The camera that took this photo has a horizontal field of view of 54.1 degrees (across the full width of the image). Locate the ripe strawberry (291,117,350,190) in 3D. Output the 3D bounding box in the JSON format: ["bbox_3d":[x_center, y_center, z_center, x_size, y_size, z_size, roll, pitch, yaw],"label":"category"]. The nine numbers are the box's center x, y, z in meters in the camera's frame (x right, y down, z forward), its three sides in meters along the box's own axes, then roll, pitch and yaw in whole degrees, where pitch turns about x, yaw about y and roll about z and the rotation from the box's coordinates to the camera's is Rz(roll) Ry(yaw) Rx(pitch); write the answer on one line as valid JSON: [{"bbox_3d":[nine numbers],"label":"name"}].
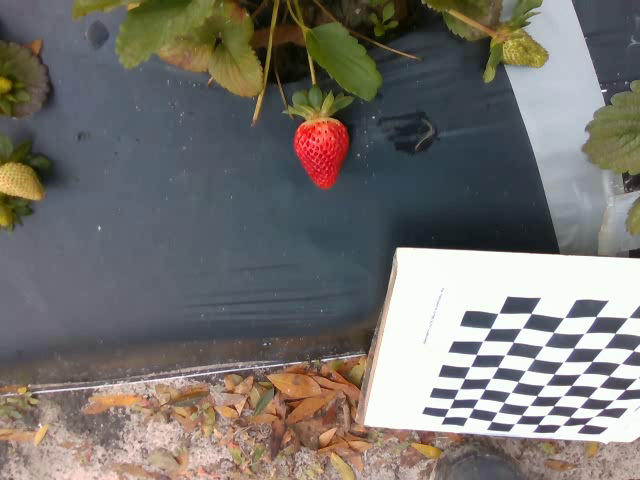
[{"bbox_3d":[0.002,-0.050,0.344,0.036,0.046,0.040,4,10,20],"label":"ripe strawberry"}]
